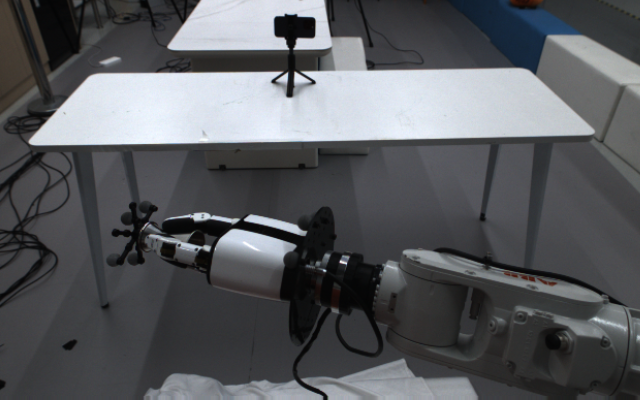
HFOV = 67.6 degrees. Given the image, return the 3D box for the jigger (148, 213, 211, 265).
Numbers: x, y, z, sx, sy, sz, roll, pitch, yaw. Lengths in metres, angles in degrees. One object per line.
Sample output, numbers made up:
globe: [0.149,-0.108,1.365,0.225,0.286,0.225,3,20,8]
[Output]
jigger: [-0.178,0.049,0.597,0.071,0.043,0.043,10,35,16]
